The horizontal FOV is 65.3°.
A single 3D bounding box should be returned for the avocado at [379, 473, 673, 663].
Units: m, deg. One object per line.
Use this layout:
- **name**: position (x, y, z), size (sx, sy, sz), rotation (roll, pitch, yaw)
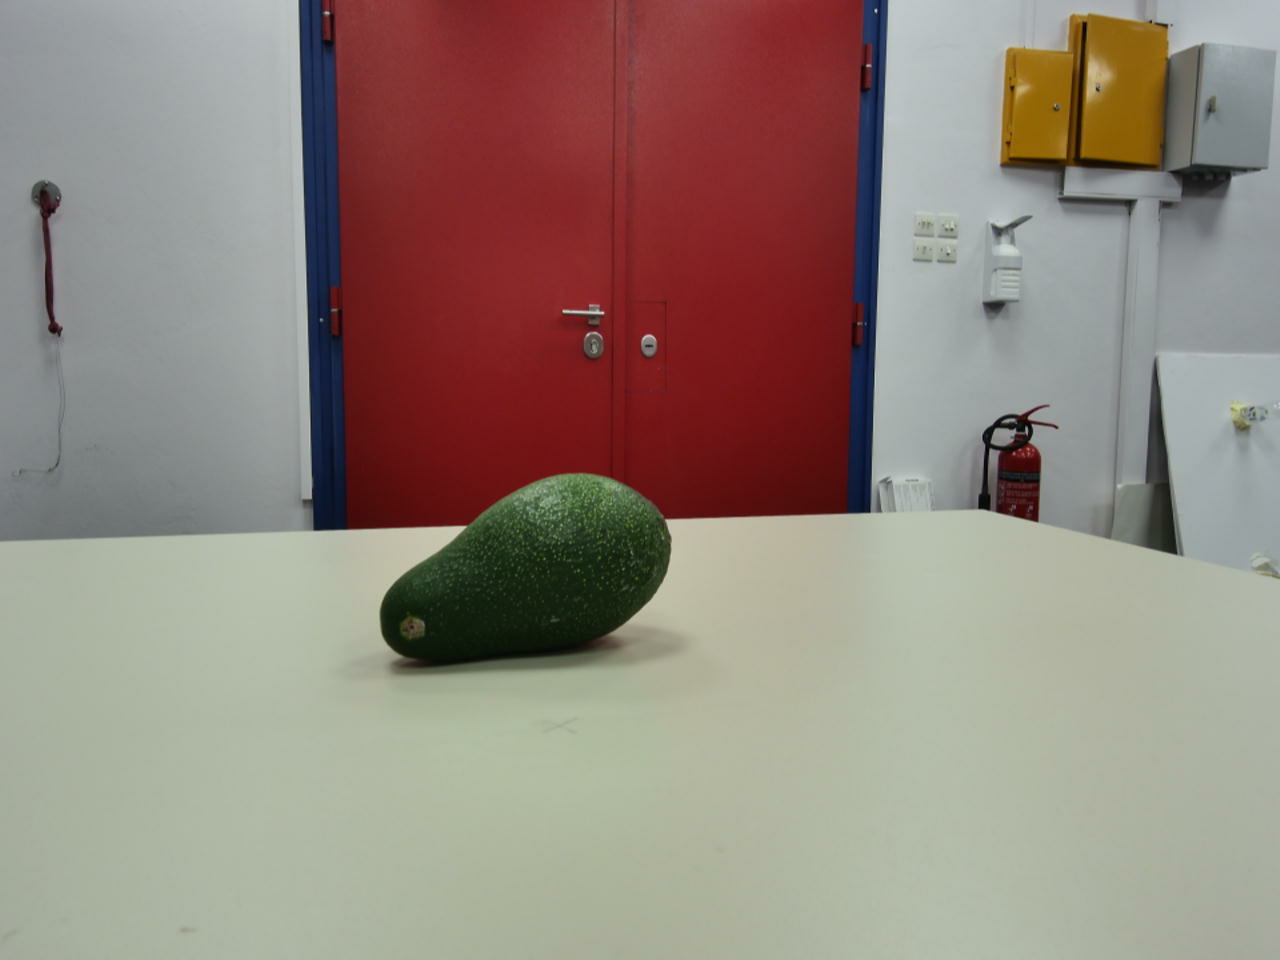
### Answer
- **avocado**: position (-0.047, 0.035, 0.433), size (0.123, 0.076, 0.074), rotation (-1, 4, -7)
